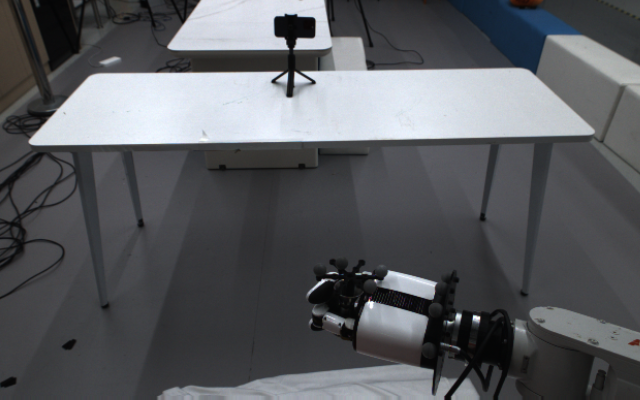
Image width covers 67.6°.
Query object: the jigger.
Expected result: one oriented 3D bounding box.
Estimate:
[{"bbox_3d":[0.041,0.146,0.660,0.043,0.071,0.043,3,25,-1],"label":"jigger"}]
